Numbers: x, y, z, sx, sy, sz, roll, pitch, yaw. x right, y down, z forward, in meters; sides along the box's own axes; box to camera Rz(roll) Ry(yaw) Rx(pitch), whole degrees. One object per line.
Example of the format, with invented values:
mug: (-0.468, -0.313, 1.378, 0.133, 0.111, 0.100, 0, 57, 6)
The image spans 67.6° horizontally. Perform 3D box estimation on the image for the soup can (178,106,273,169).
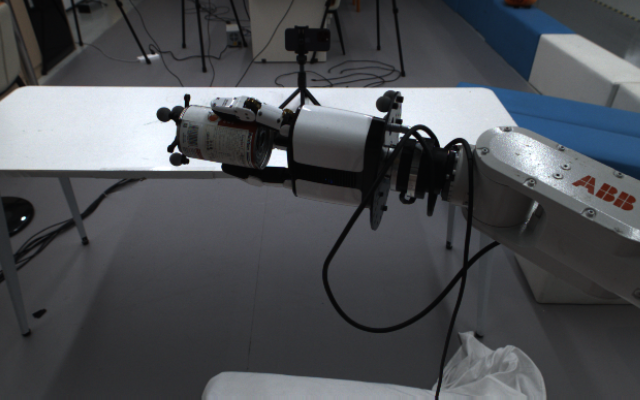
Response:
soup can: (-0.114, -0.078, 0.599, 0.101, 0.067, 0.067, 10, 35, 10)
